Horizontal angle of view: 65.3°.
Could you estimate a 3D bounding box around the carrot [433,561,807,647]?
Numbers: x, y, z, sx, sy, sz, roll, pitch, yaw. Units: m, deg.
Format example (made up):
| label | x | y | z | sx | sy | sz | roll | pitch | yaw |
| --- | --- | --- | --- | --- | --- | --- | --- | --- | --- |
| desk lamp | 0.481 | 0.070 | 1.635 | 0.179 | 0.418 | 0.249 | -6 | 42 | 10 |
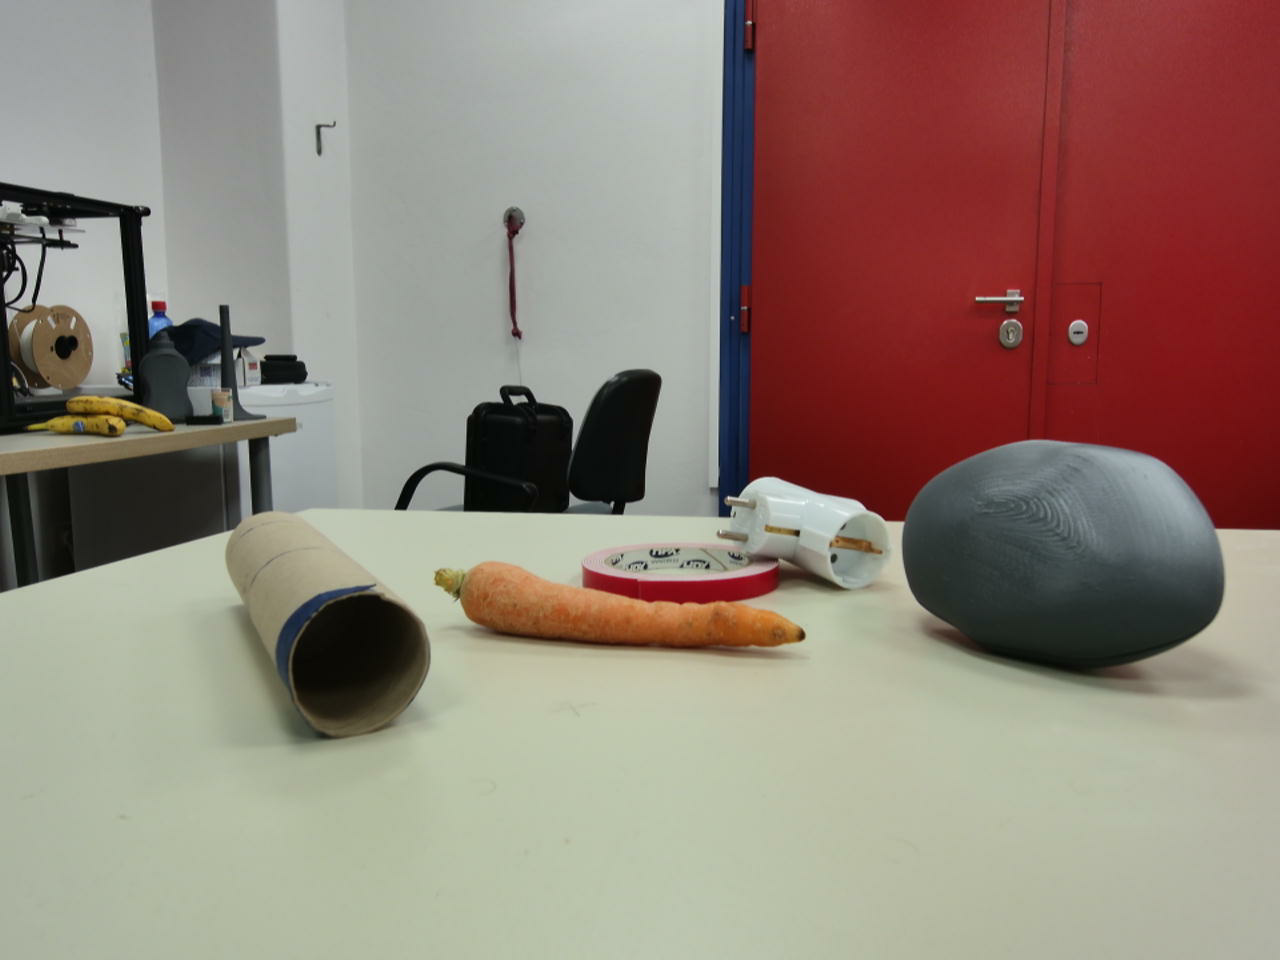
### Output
| label | x | y | z | sx | sy | sz | roll | pitch | yaw |
| --- | --- | --- | --- | --- | --- | --- | --- | --- | --- |
| carrot | -0.014 | 0.055 | 0.437 | 0.173 | 0.032 | 0.030 | 1 | 4 | 22 |
